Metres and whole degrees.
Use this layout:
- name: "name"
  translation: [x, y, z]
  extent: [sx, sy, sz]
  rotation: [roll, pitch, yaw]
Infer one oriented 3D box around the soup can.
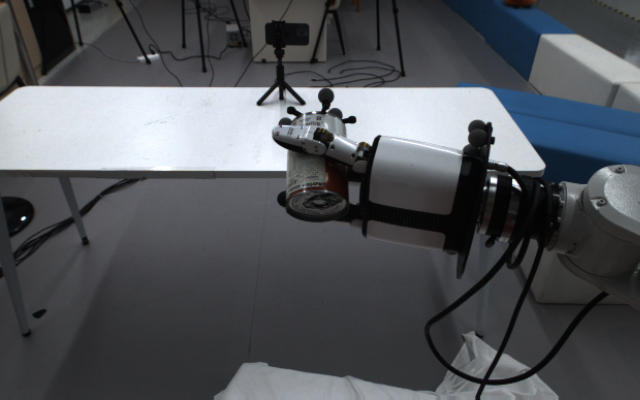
- name: "soup can"
  translation: [-0.002, -0.038, 0.525]
  extent: [0.067, 0.067, 0.101]
  rotation: [1, 61, -2]
